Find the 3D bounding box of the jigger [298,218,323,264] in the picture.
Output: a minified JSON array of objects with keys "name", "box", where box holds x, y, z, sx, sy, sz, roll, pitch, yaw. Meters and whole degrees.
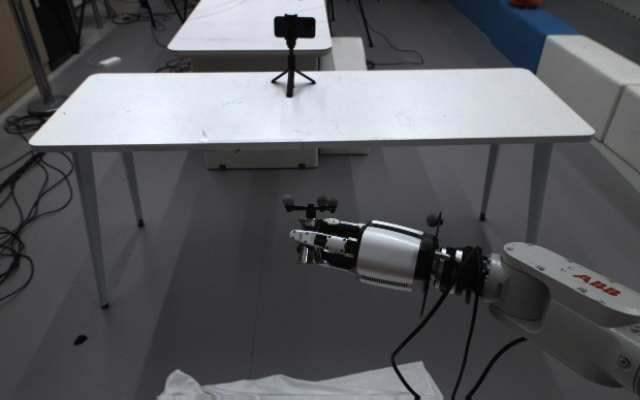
[{"name":"jigger","box":[-0.016,0.062,0.745,0.043,0.071,0.043,1,-5,0]}]
